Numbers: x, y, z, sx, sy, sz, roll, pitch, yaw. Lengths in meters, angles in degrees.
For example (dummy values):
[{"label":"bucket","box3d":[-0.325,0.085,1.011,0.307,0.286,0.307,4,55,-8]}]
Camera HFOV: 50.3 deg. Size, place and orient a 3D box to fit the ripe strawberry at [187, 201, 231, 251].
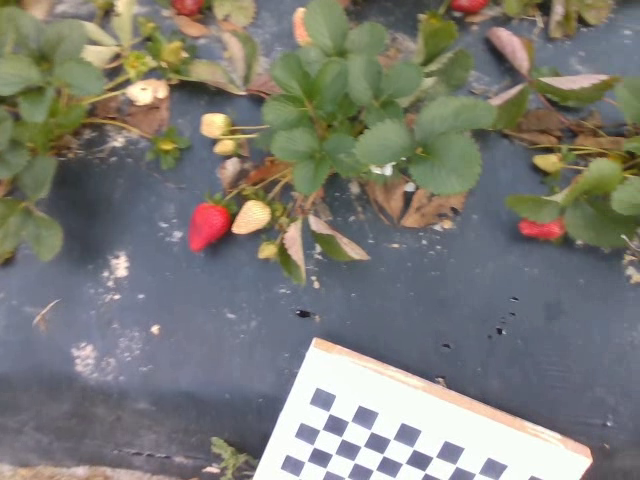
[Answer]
[{"label":"ripe strawberry","box3d":[-0.115,-0.014,0.683,0.050,0.059,0.034,13,-27,11]}]
